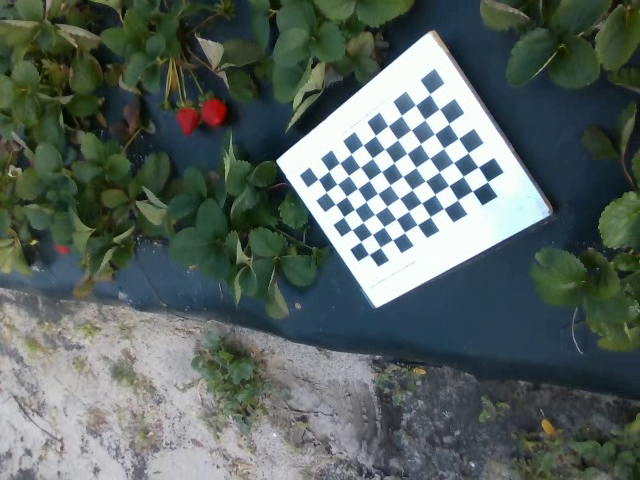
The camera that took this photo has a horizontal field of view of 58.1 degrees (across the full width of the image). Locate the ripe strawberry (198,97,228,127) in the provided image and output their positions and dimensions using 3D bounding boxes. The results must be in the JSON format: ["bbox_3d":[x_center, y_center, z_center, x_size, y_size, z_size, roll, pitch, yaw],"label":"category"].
[{"bbox_3d":[-0.201,-0.230,1.047,0.051,0.058,0.064,9,36,-39],"label":"ripe strawberry"}]

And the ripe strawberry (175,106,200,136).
[{"bbox_3d":[-0.252,-0.224,1.082,0.048,0.056,0.041,-17,-16,30],"label":"ripe strawberry"}]
